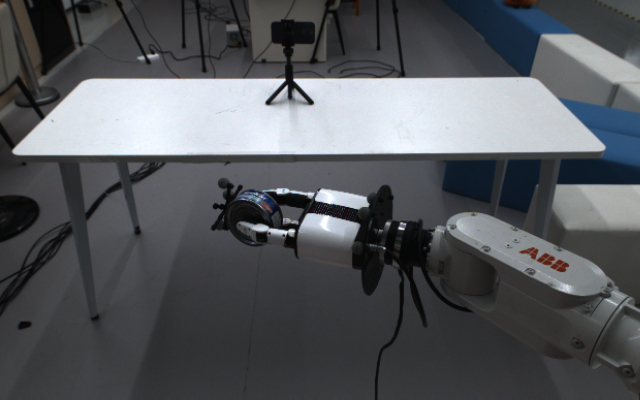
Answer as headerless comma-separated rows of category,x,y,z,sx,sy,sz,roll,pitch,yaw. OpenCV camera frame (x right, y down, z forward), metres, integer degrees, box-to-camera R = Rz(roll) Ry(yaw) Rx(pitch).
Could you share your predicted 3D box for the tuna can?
tuna can,-0.102,0.025,0.747,0.085,0.085,0.034,14,31,16
